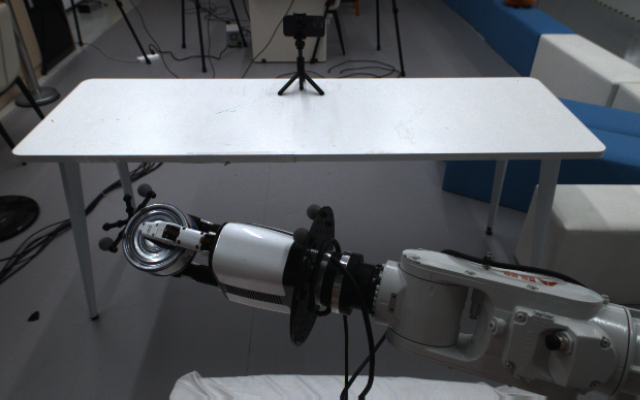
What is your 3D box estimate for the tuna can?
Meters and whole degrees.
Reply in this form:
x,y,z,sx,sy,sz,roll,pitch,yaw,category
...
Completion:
x,y,z,sx,sy,sz,roll,pitch,yaw,category
-0.189,0.052,0.586,0.085,0.034,0.085,-1,74,5,tuna can
